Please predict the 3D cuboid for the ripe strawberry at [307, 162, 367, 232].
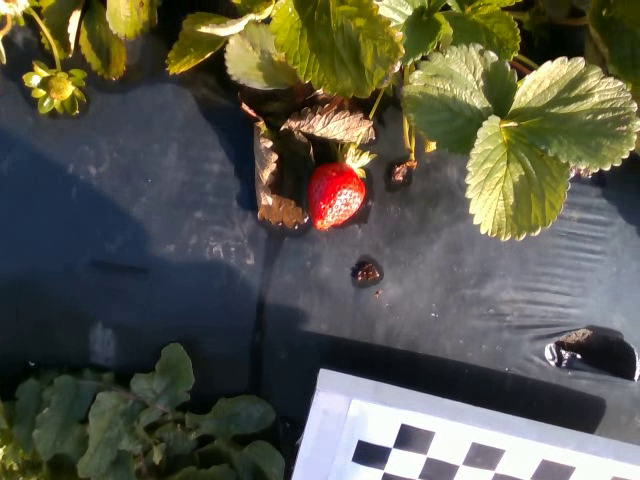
[{"bbox_3d":[0.005,-0.018,0.348,0.046,0.054,0.037,31,-17,-11],"label":"ripe strawberry"}]
